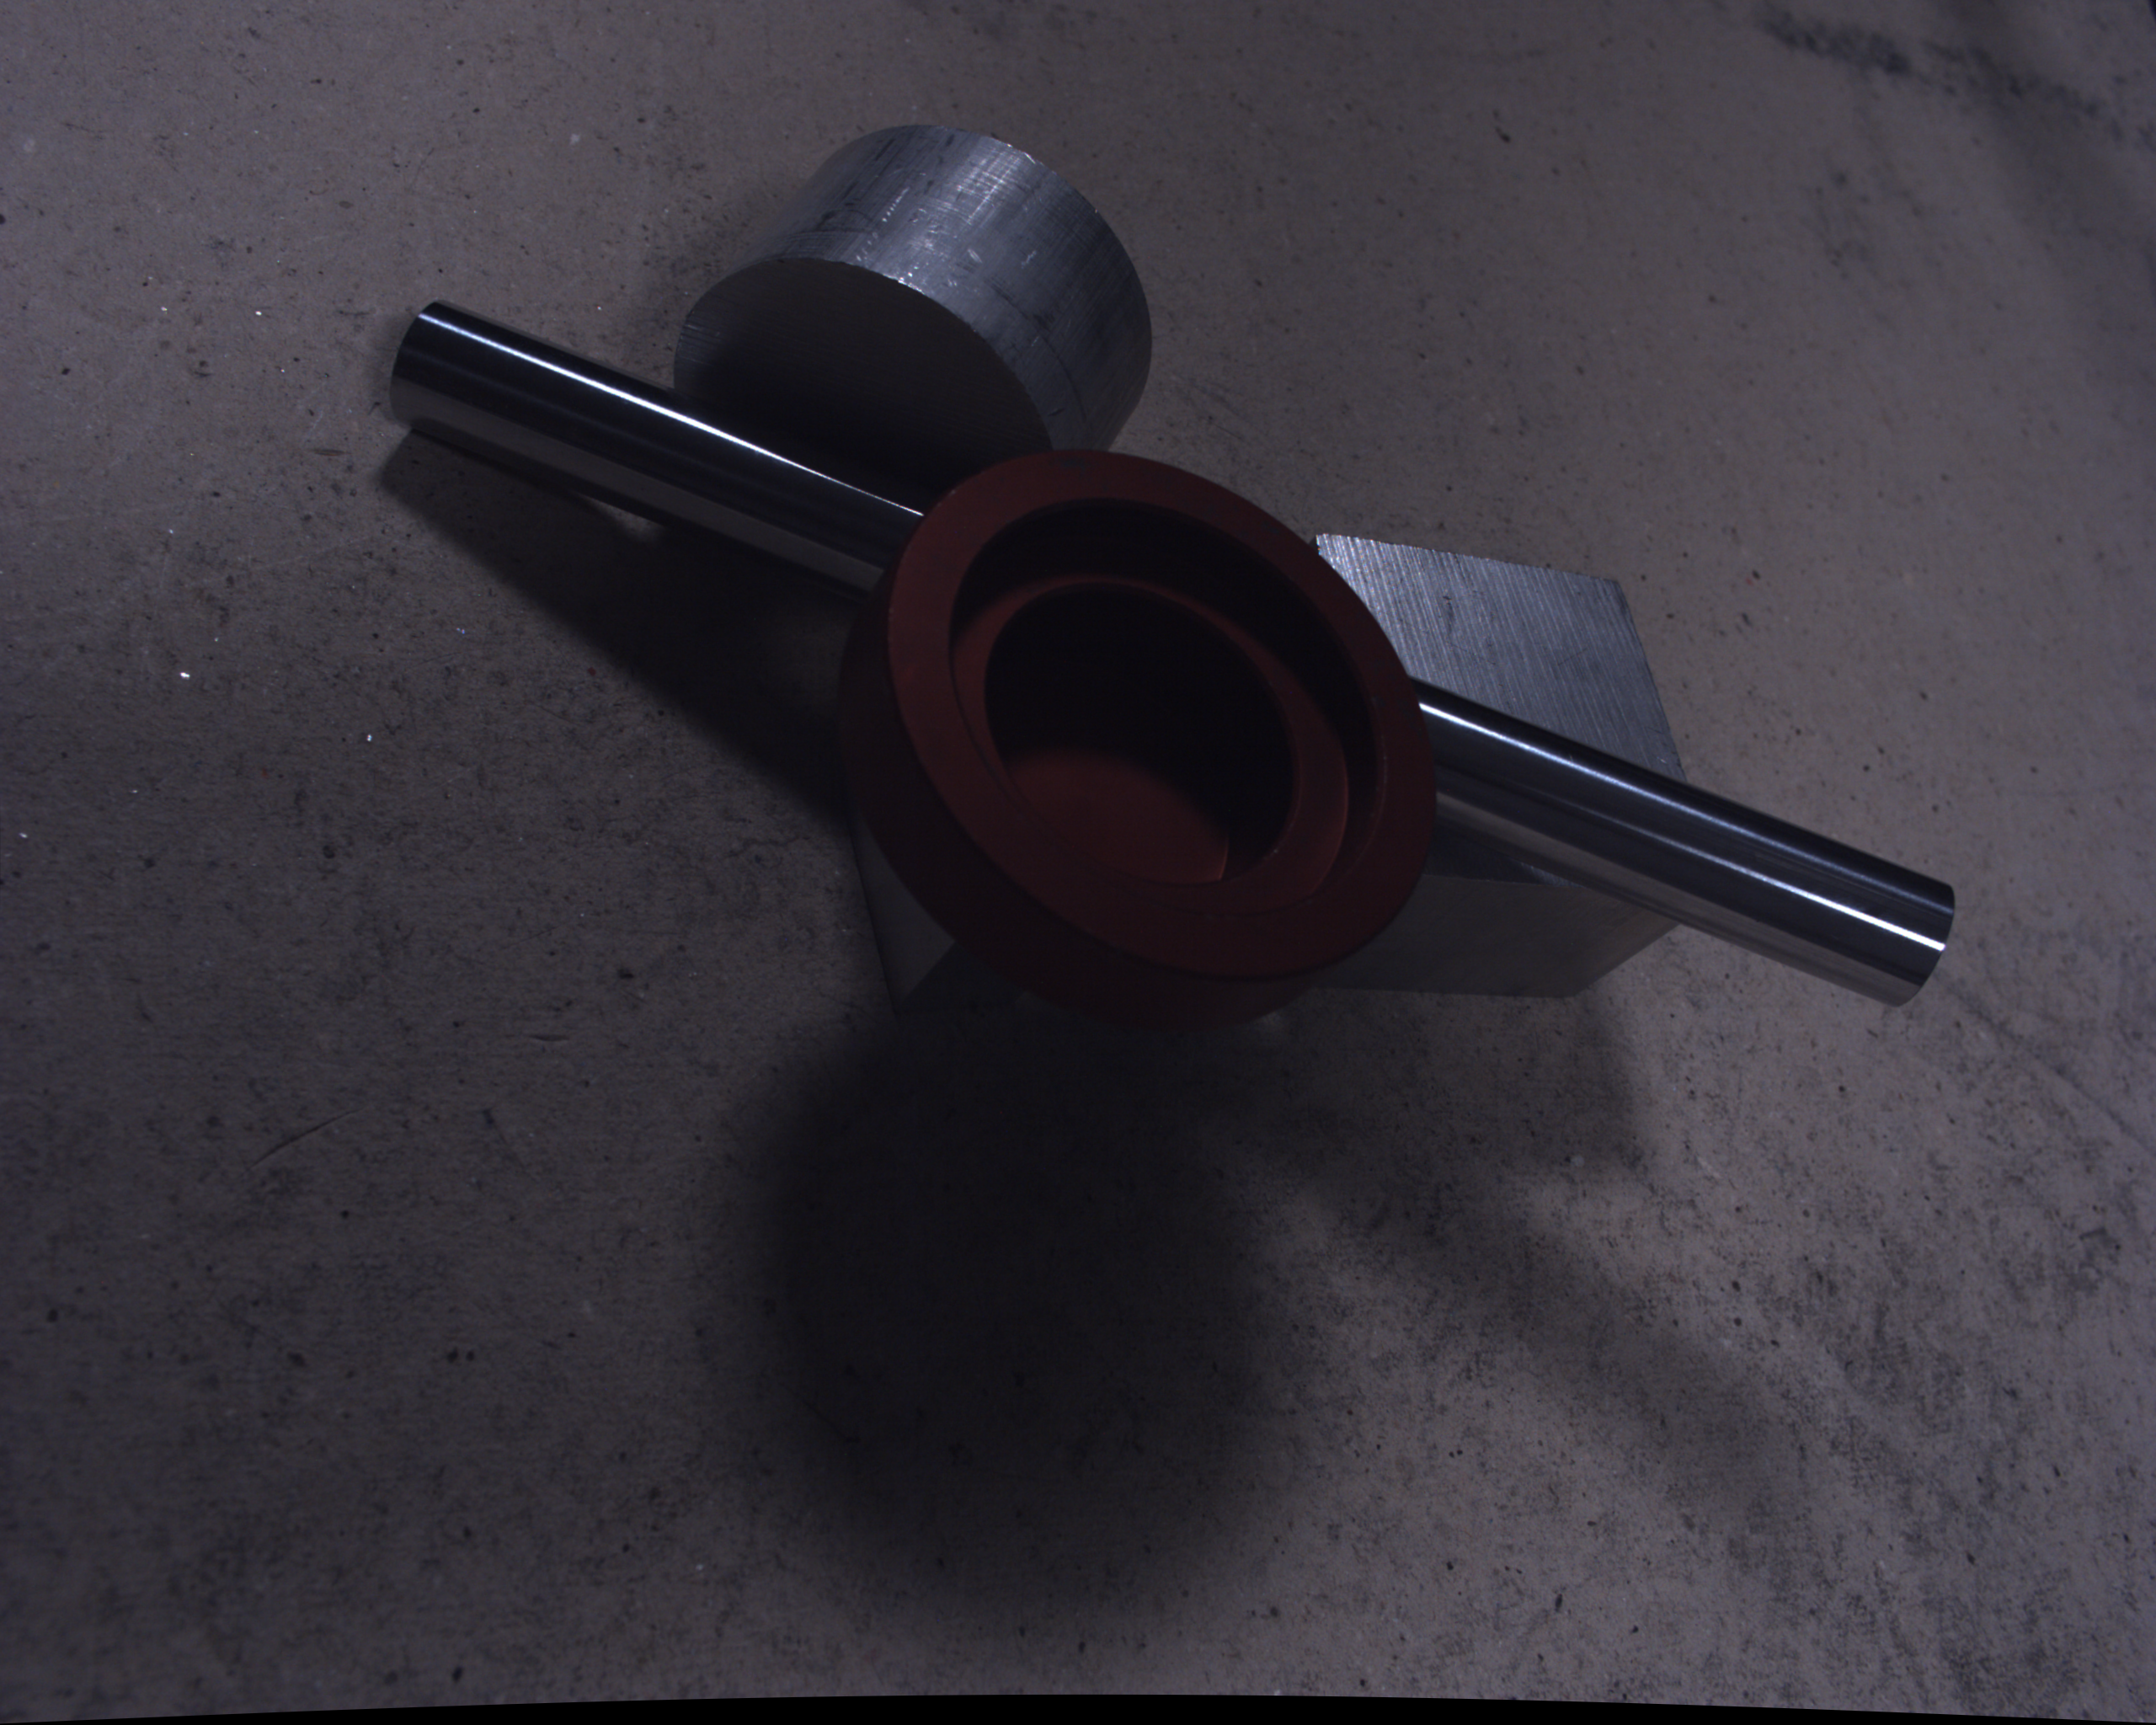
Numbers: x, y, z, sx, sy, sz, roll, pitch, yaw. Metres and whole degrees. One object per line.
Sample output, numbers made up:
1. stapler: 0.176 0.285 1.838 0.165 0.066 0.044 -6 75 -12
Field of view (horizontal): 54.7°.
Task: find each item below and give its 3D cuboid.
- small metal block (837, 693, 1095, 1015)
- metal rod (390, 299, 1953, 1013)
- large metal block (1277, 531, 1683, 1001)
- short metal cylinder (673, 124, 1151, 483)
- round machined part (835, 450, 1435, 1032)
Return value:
1. small metal block: -0.019 -0.006 0.384 0.025 0.050 0.050 -2 63 -30
2. metal rod: 0.016 -0.039 0.391 0.301 0.025 0.025 22 52 2
3. large metal block: 0.080 -0.018 0.446 0.081 0.050 0.080 4 60 -27
4. short metal cylinder: -0.032 -0.097 0.413 0.080 0.080 0.050 33 51 -8
5. round machined part: 0.006 -0.016 0.346 0.099 0.042 0.098 13 57 -22
